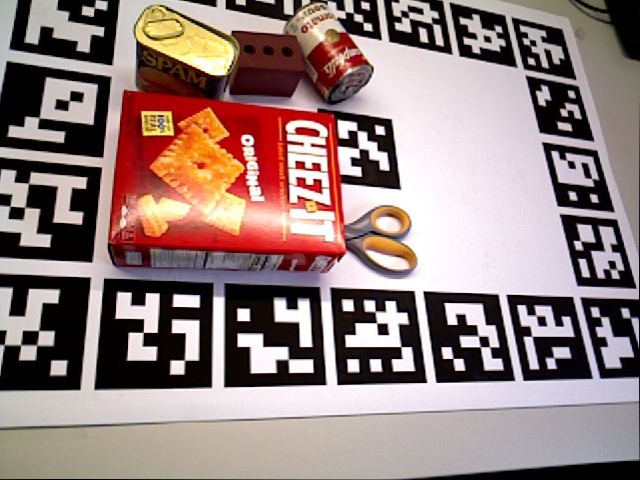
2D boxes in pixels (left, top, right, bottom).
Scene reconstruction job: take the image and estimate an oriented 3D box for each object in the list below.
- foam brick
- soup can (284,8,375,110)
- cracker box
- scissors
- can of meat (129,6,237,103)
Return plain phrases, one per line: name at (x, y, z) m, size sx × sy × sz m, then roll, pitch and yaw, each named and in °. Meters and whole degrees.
foam brick at (-0.065, -0.197, 0.622) m, size 0.077 × 0.052 × 0.052 m, roll -7°, pitch 74°, yaw -22°
soup can at (0.010, -0.218, 0.656) m, size 0.066 × 0.069 × 0.102 m, roll -37°, pitch 80°, yaw -27°
cracker box at (-0.085, -0.047, 0.531) m, size 0.211 × 0.073 × 0.163 m, roll -3°, pitch 71°, yaw -17°
scissors at (0.015, 0.004, 0.584) m, size 0.200 × 0.016 × 0.087 m, roll -2°, pitch 72°, yaw -20°
can of meat at (-0.146, -0.179, 0.565) m, size 0.101 × 0.085 × 0.057 m, roll 17°, pitch 66°, yaw -14°
